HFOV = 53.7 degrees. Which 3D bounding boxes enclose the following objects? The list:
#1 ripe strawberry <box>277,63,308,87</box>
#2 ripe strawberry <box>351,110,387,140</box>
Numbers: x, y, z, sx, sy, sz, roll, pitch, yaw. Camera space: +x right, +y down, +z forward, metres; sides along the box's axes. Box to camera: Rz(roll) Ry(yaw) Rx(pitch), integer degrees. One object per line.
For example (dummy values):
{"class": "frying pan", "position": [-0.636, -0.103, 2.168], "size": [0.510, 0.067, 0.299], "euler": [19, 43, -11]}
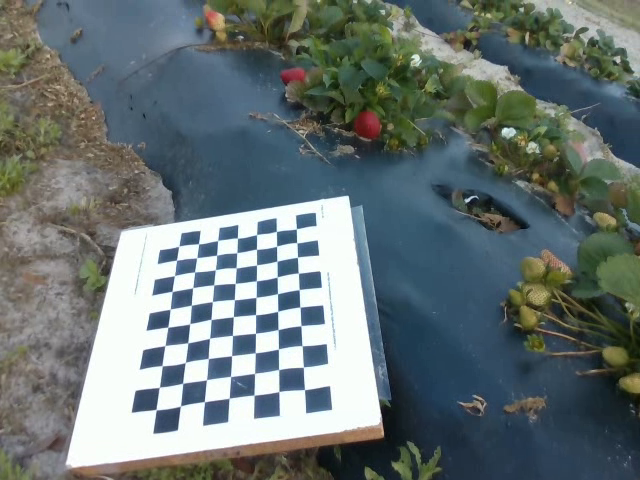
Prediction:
{"class": "ripe strawberry", "position": [-0.046, -0.260, 1.021], "size": [0.051, 0.043, 0.043], "euler": [3, 37, -28]}
{"class": "ripe strawberry", "position": [0.071, -0.178, 0.944], "size": [0.043, 0.046, 0.046], "euler": [-7, 14, 0]}
